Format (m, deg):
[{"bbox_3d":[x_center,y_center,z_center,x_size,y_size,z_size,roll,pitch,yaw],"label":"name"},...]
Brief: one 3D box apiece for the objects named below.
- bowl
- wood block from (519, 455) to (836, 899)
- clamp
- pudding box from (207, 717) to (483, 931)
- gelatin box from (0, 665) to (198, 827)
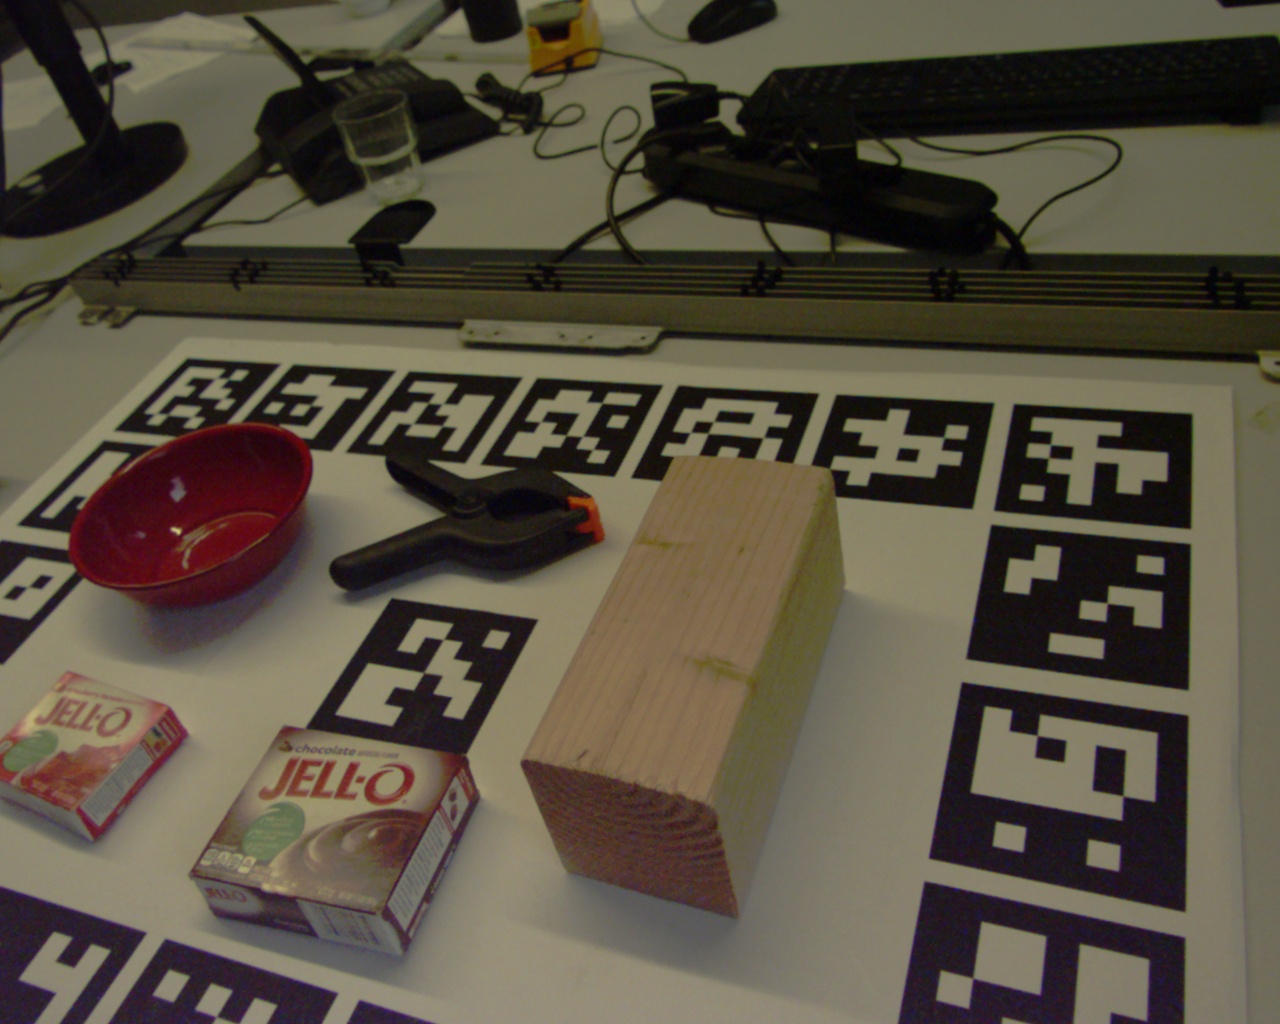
[{"bbox_3d":[-0.287,0.012,0.787,0.162,0.055,0.162,-9,45,8],"label":"bowl"},{"bbox_3d":[0.030,0.075,0.585,0.091,0.090,0.205,8,47,23],"label":"wood block"},{"bbox_3d":[-0.122,0.006,0.759,0.166,0.036,0.122,-1,43,13],"label":"clamp"},{"bbox_3d":[-0.150,0.159,0.588,0.115,0.038,0.090,3,49,23],"label":"pudding box"},{"bbox_3d":[-0.319,0.134,0.669,0.090,0.030,0.073,12,50,28],"label":"gelatin box"}]
